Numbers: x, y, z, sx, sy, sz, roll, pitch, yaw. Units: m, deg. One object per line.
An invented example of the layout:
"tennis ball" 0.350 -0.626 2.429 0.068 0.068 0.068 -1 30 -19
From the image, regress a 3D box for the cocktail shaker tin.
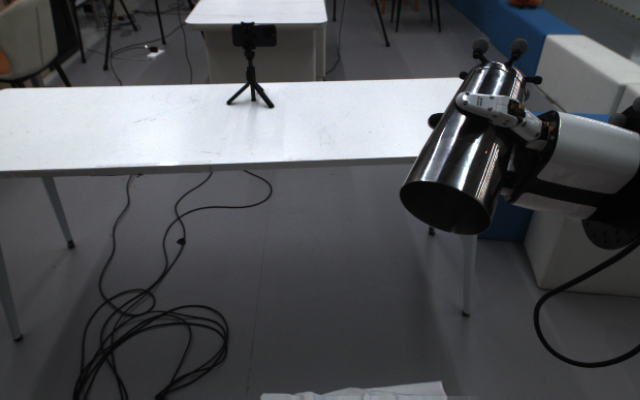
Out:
"cocktail shaker tin" 0.160 -0.063 0.502 0.093 0.093 0.170 18 66 21
